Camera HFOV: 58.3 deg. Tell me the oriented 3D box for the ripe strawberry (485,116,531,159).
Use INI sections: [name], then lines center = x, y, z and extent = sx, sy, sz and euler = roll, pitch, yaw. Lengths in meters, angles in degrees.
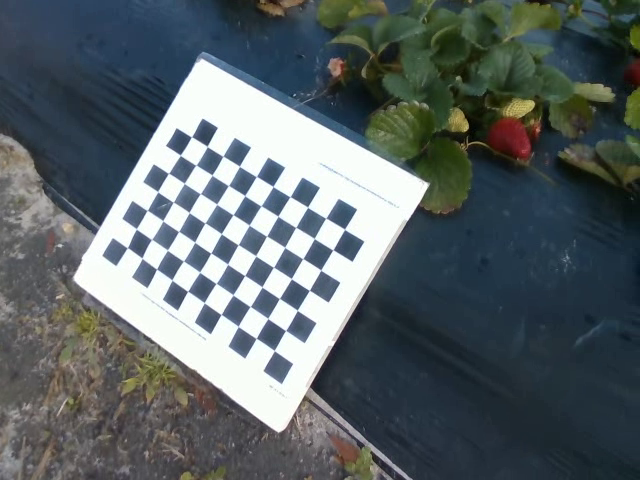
[ripe strawberry]
center = 0.181, -0.101, 0.526
extent = 0.050, 0.064, 0.043
euler = -28, -14, 11
